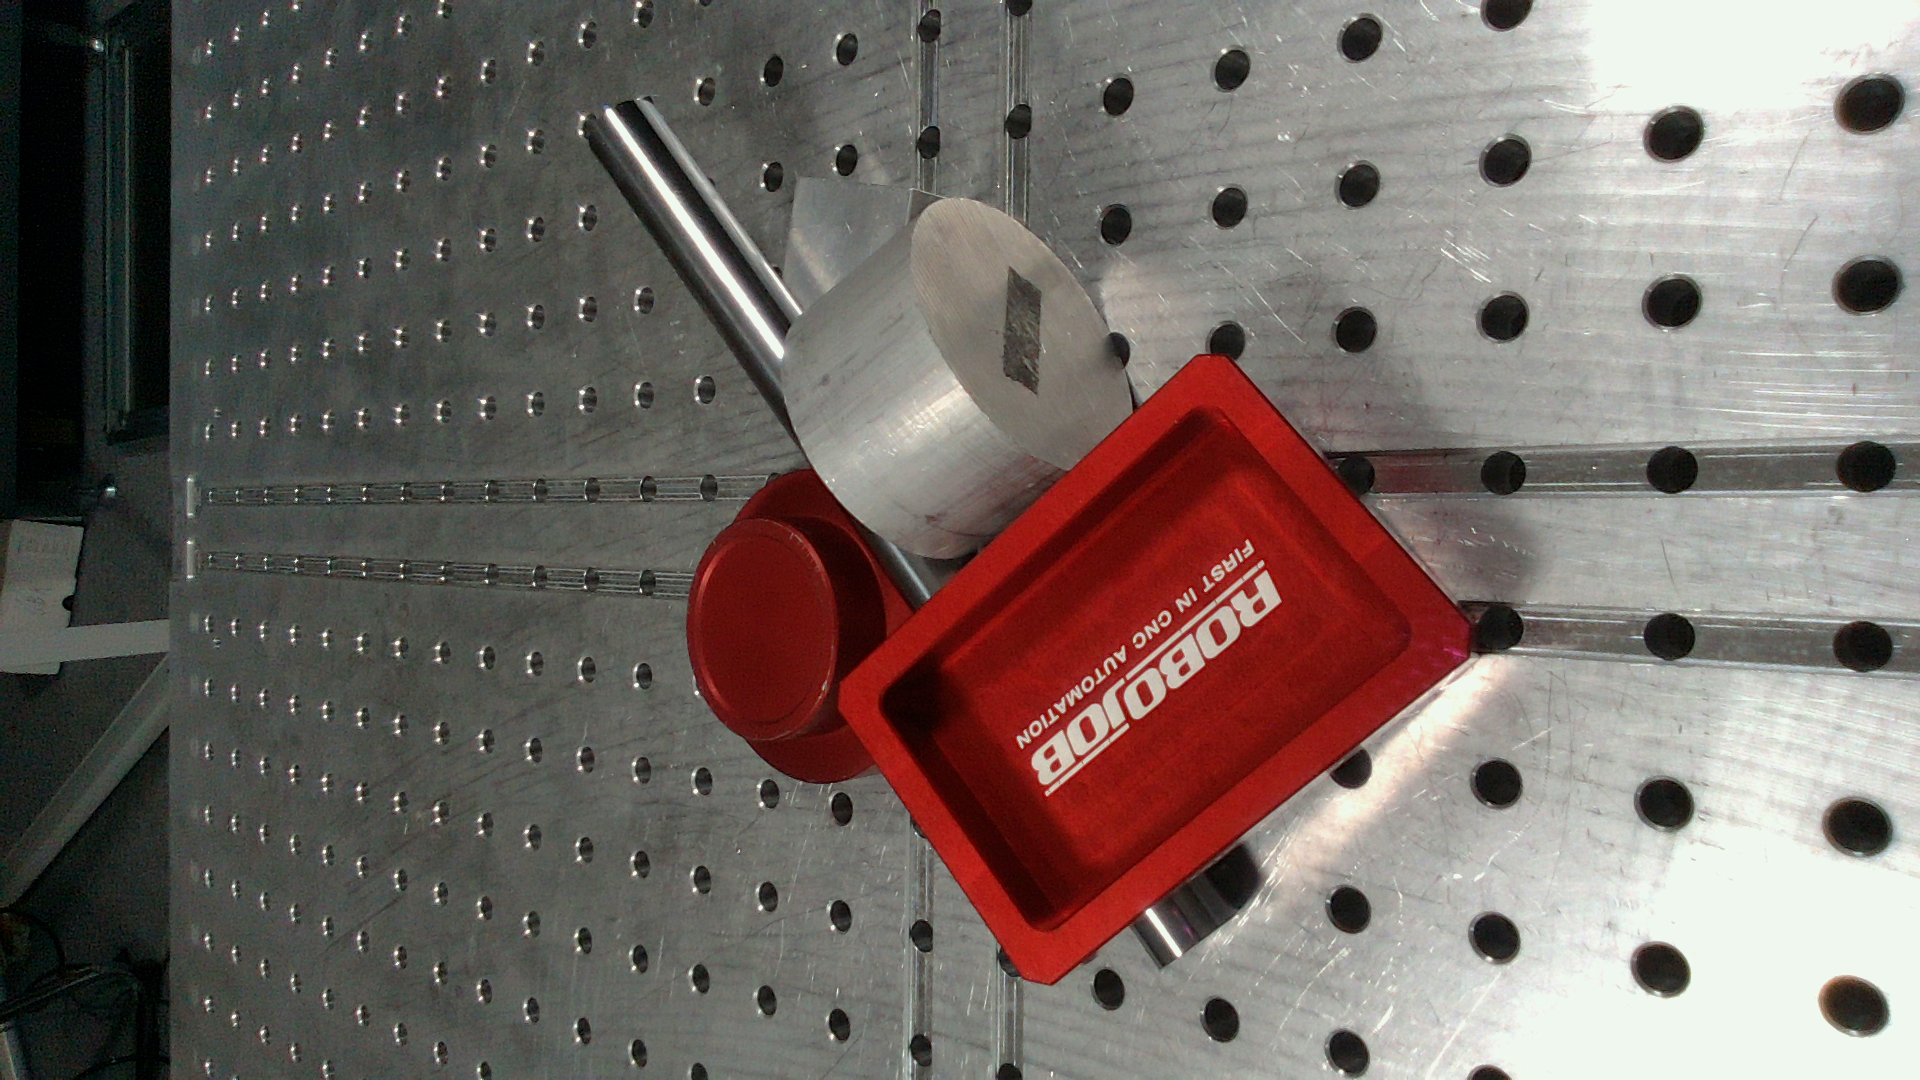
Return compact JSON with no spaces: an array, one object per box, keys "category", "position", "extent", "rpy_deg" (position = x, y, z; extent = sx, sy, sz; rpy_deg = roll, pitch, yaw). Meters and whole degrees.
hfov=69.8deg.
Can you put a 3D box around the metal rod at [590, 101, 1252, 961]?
[{"category":"metal rod","position":[-0.021,-0.015,0.394],"extent":[0.025,0.025,0.300],"rpy_deg":[-47,70,30]}]

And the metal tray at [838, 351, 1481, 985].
[{"category":"metal tray","position":[0.044,0.031,0.330],"extent":[0.130,0.030,0.090],"rpy_deg":[-43,71,15]}]

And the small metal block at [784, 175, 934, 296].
[{"category":"small metal block","position":[-0.028,-0.082,0.422],"extent":[0.050,0.025,0.050],"rpy_deg":[17,101,39]}]

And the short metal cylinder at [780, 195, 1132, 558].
[{"category":"short metal cylinder","position":[0.000,-0.042,0.361],"extent":[0.050,0.080,0.080],"rpy_deg":[-31,70,36]}]

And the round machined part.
[{"category":"round machined part","position":[-0.048,0.027,0.426],"extent":[0.098,0.042,0.098],"rpy_deg":[0,90,40]}]
